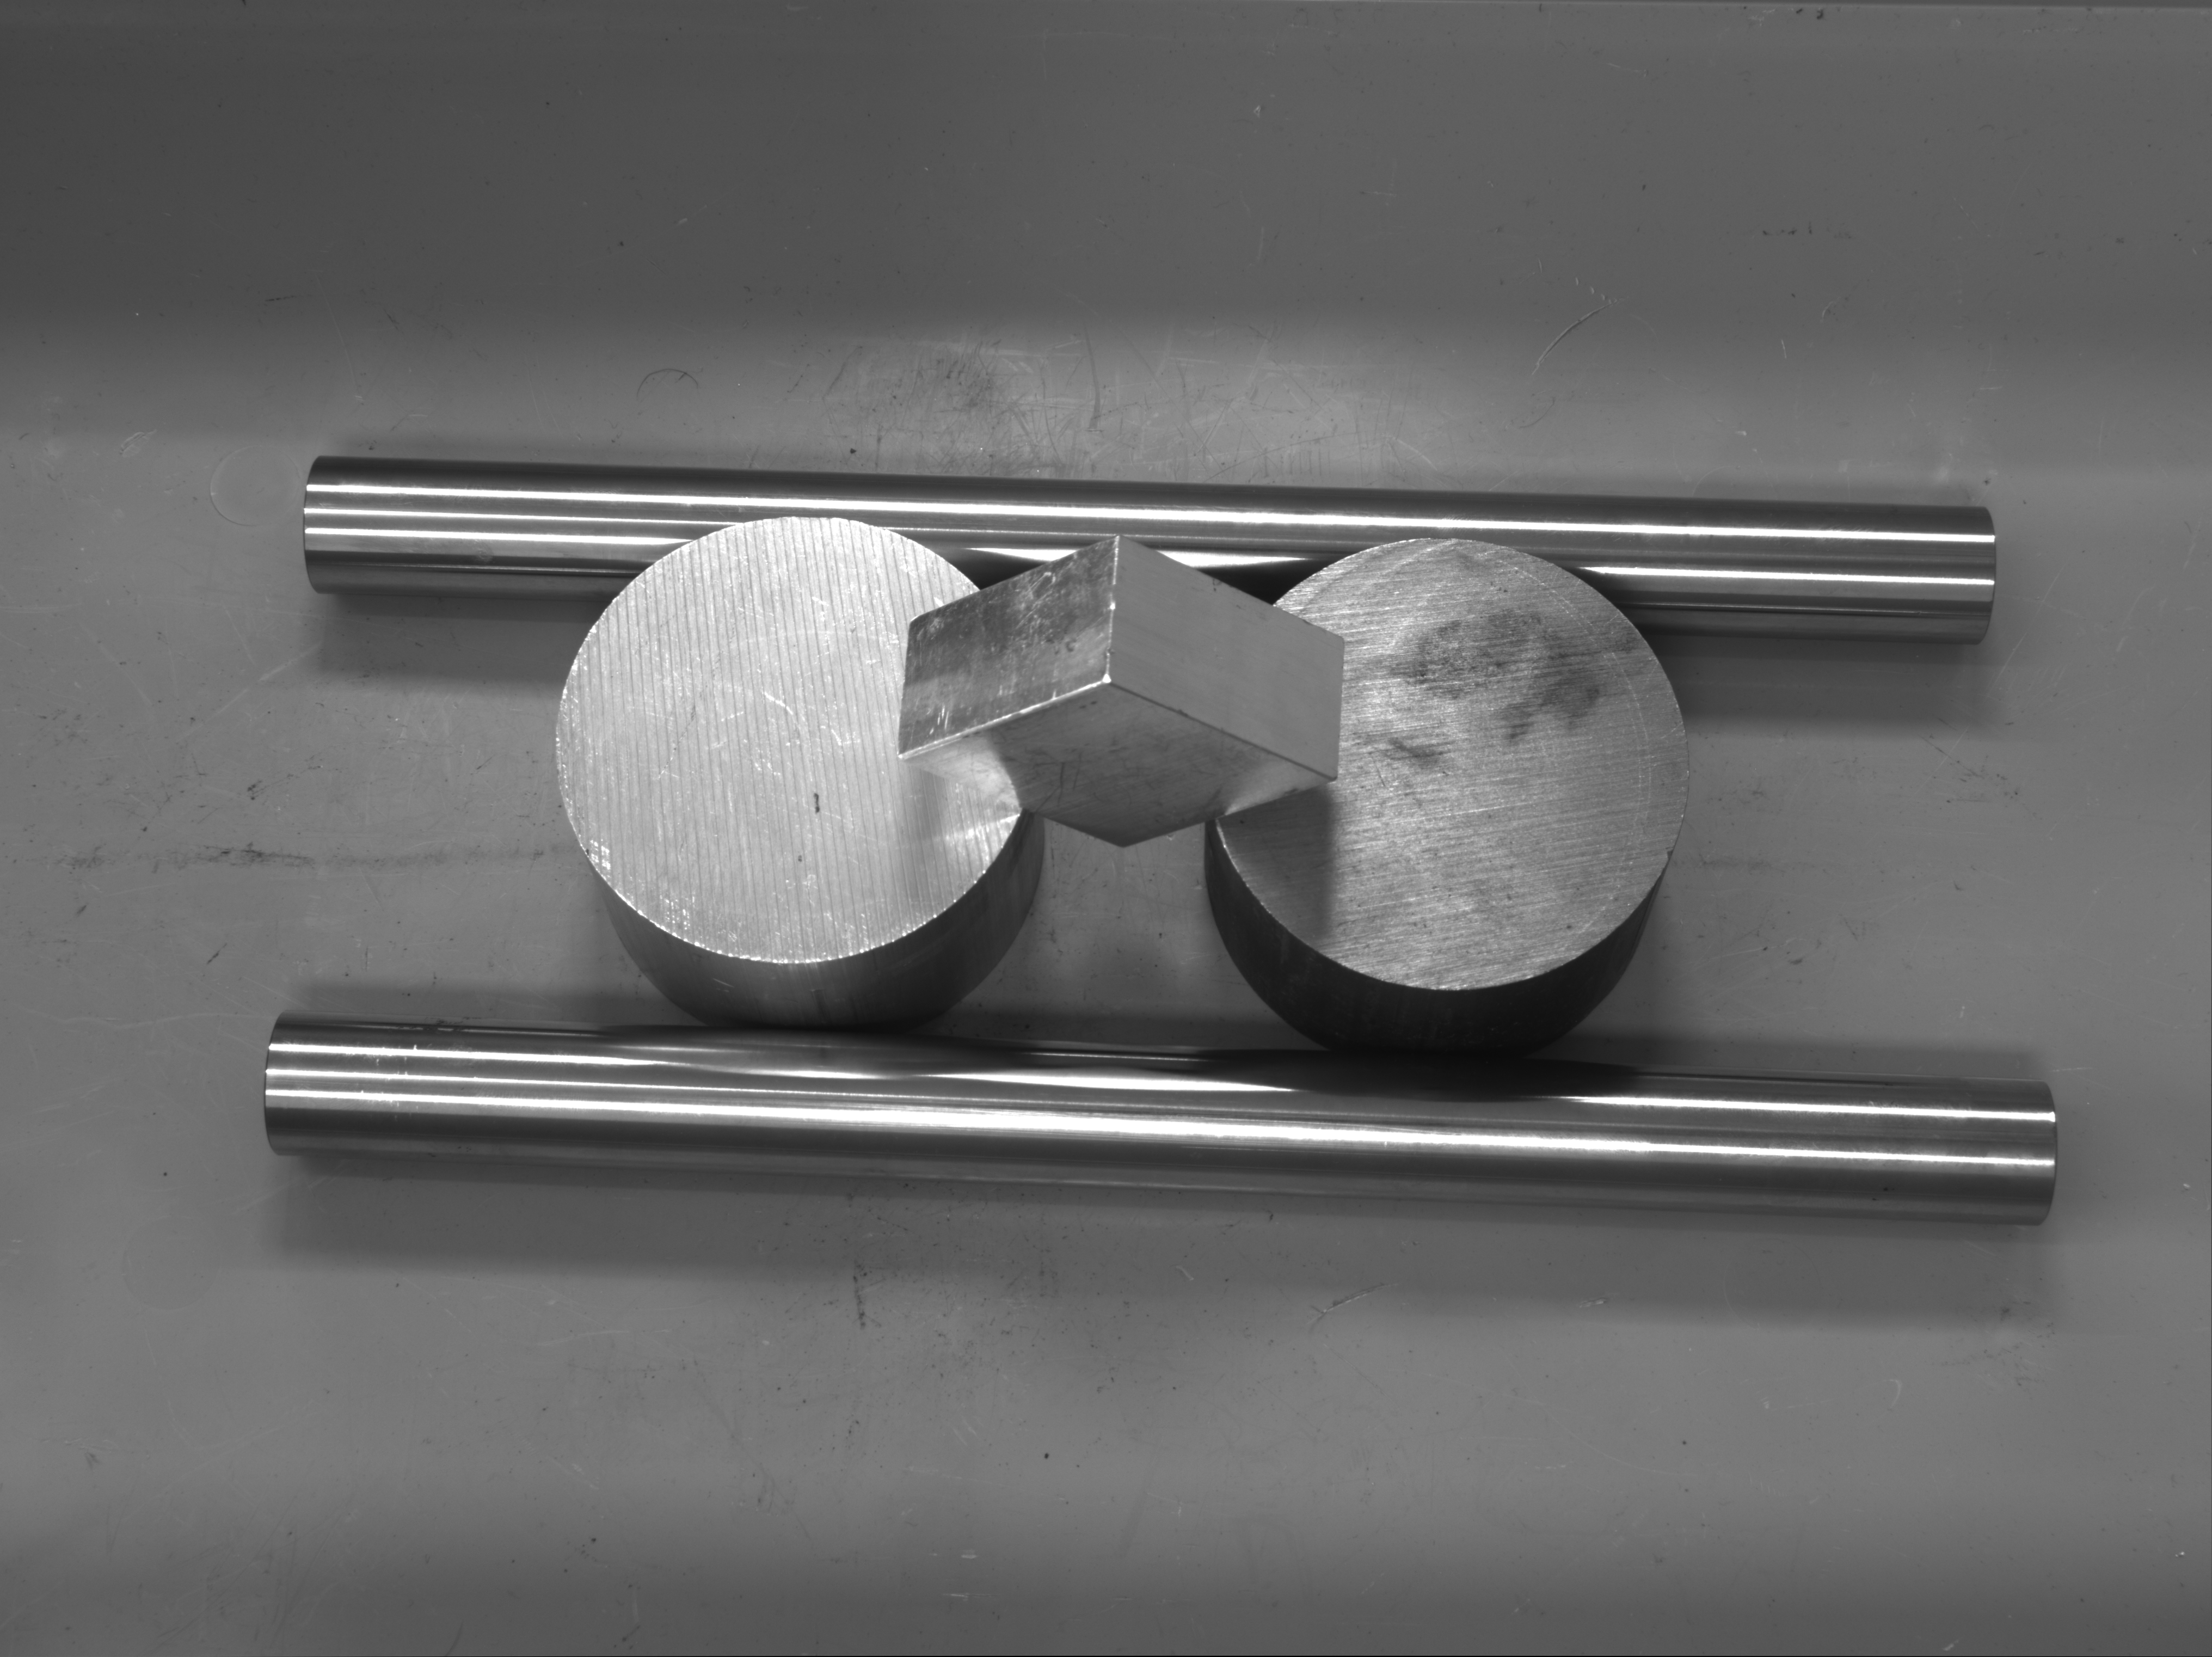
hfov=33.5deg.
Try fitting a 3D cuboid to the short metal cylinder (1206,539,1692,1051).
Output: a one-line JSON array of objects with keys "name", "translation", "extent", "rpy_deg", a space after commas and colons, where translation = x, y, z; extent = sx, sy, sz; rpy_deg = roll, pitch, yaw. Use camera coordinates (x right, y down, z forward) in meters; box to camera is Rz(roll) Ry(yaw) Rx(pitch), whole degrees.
[{"name": "short metal cylinder", "translation": [0.057, -0.003, 0.632], "extent": [0.080, 0.050, 0.080], "rpy_deg": [0, 70, 0]}]

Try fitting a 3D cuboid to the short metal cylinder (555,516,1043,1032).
[{"name": "short metal cylinder", "translation": [-0.051, -0.007, 0.634], "extent": [0.080, 0.050, 0.080], "rpy_deg": [0, 70, 0]}]

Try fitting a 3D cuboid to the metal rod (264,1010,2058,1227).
[{"name": "metal rod", "translation": [0.009, 0.049, 0.626], "extent": [0.300, 0.025, 0.025], "rpy_deg": [2, 70, 1]}]

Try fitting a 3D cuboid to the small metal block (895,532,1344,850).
[{"name": "small metal block", "translation": [0.002, -0.021, 0.590], "extent": [0.050, 0.050, 0.025], "rpy_deg": [21, 63, -38]}]

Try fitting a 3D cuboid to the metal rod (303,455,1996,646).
[{"name": "metal rod", "translation": [0.008, -0.050, 0.663], "extent": [0.300, 0.025, 0.025], "rpy_deg": [2, 70, 1]}]
